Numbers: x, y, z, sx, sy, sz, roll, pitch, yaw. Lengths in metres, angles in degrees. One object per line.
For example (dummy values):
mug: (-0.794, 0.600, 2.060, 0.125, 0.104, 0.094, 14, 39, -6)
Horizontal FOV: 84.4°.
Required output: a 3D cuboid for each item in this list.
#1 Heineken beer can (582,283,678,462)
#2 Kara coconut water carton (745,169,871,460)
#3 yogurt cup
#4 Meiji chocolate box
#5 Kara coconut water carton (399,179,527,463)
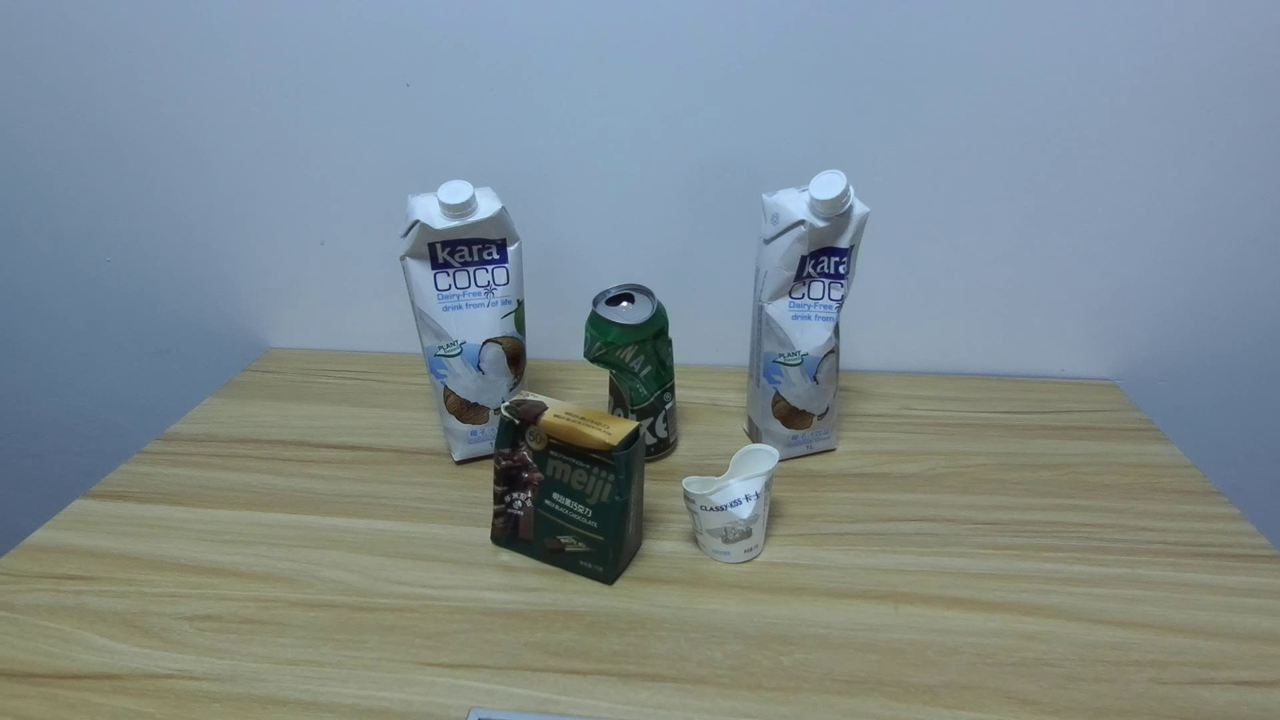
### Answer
Heineken beer can: (-0.004, 0.013, 0.626, 0.067, 0.159, 0.079, -1, 33, 10)
Kara coconut water carton: (0.137, -0.037, 0.603, 0.083, 0.256, 0.078, -3, 29, -4)
yogurt cup: (0.068, 0.107, 0.529, 0.053, 0.071, 0.075, 13, 32, 26)
Meiji chocolate box: (-0.055, 0.094, 0.532, 0.113, 0.110, 0.058, 11, 20, 22)
Kara coconut water carton: (-0.146, -0.035, 0.623, 0.100, 0.244, 0.071, -12, 27, -16)
